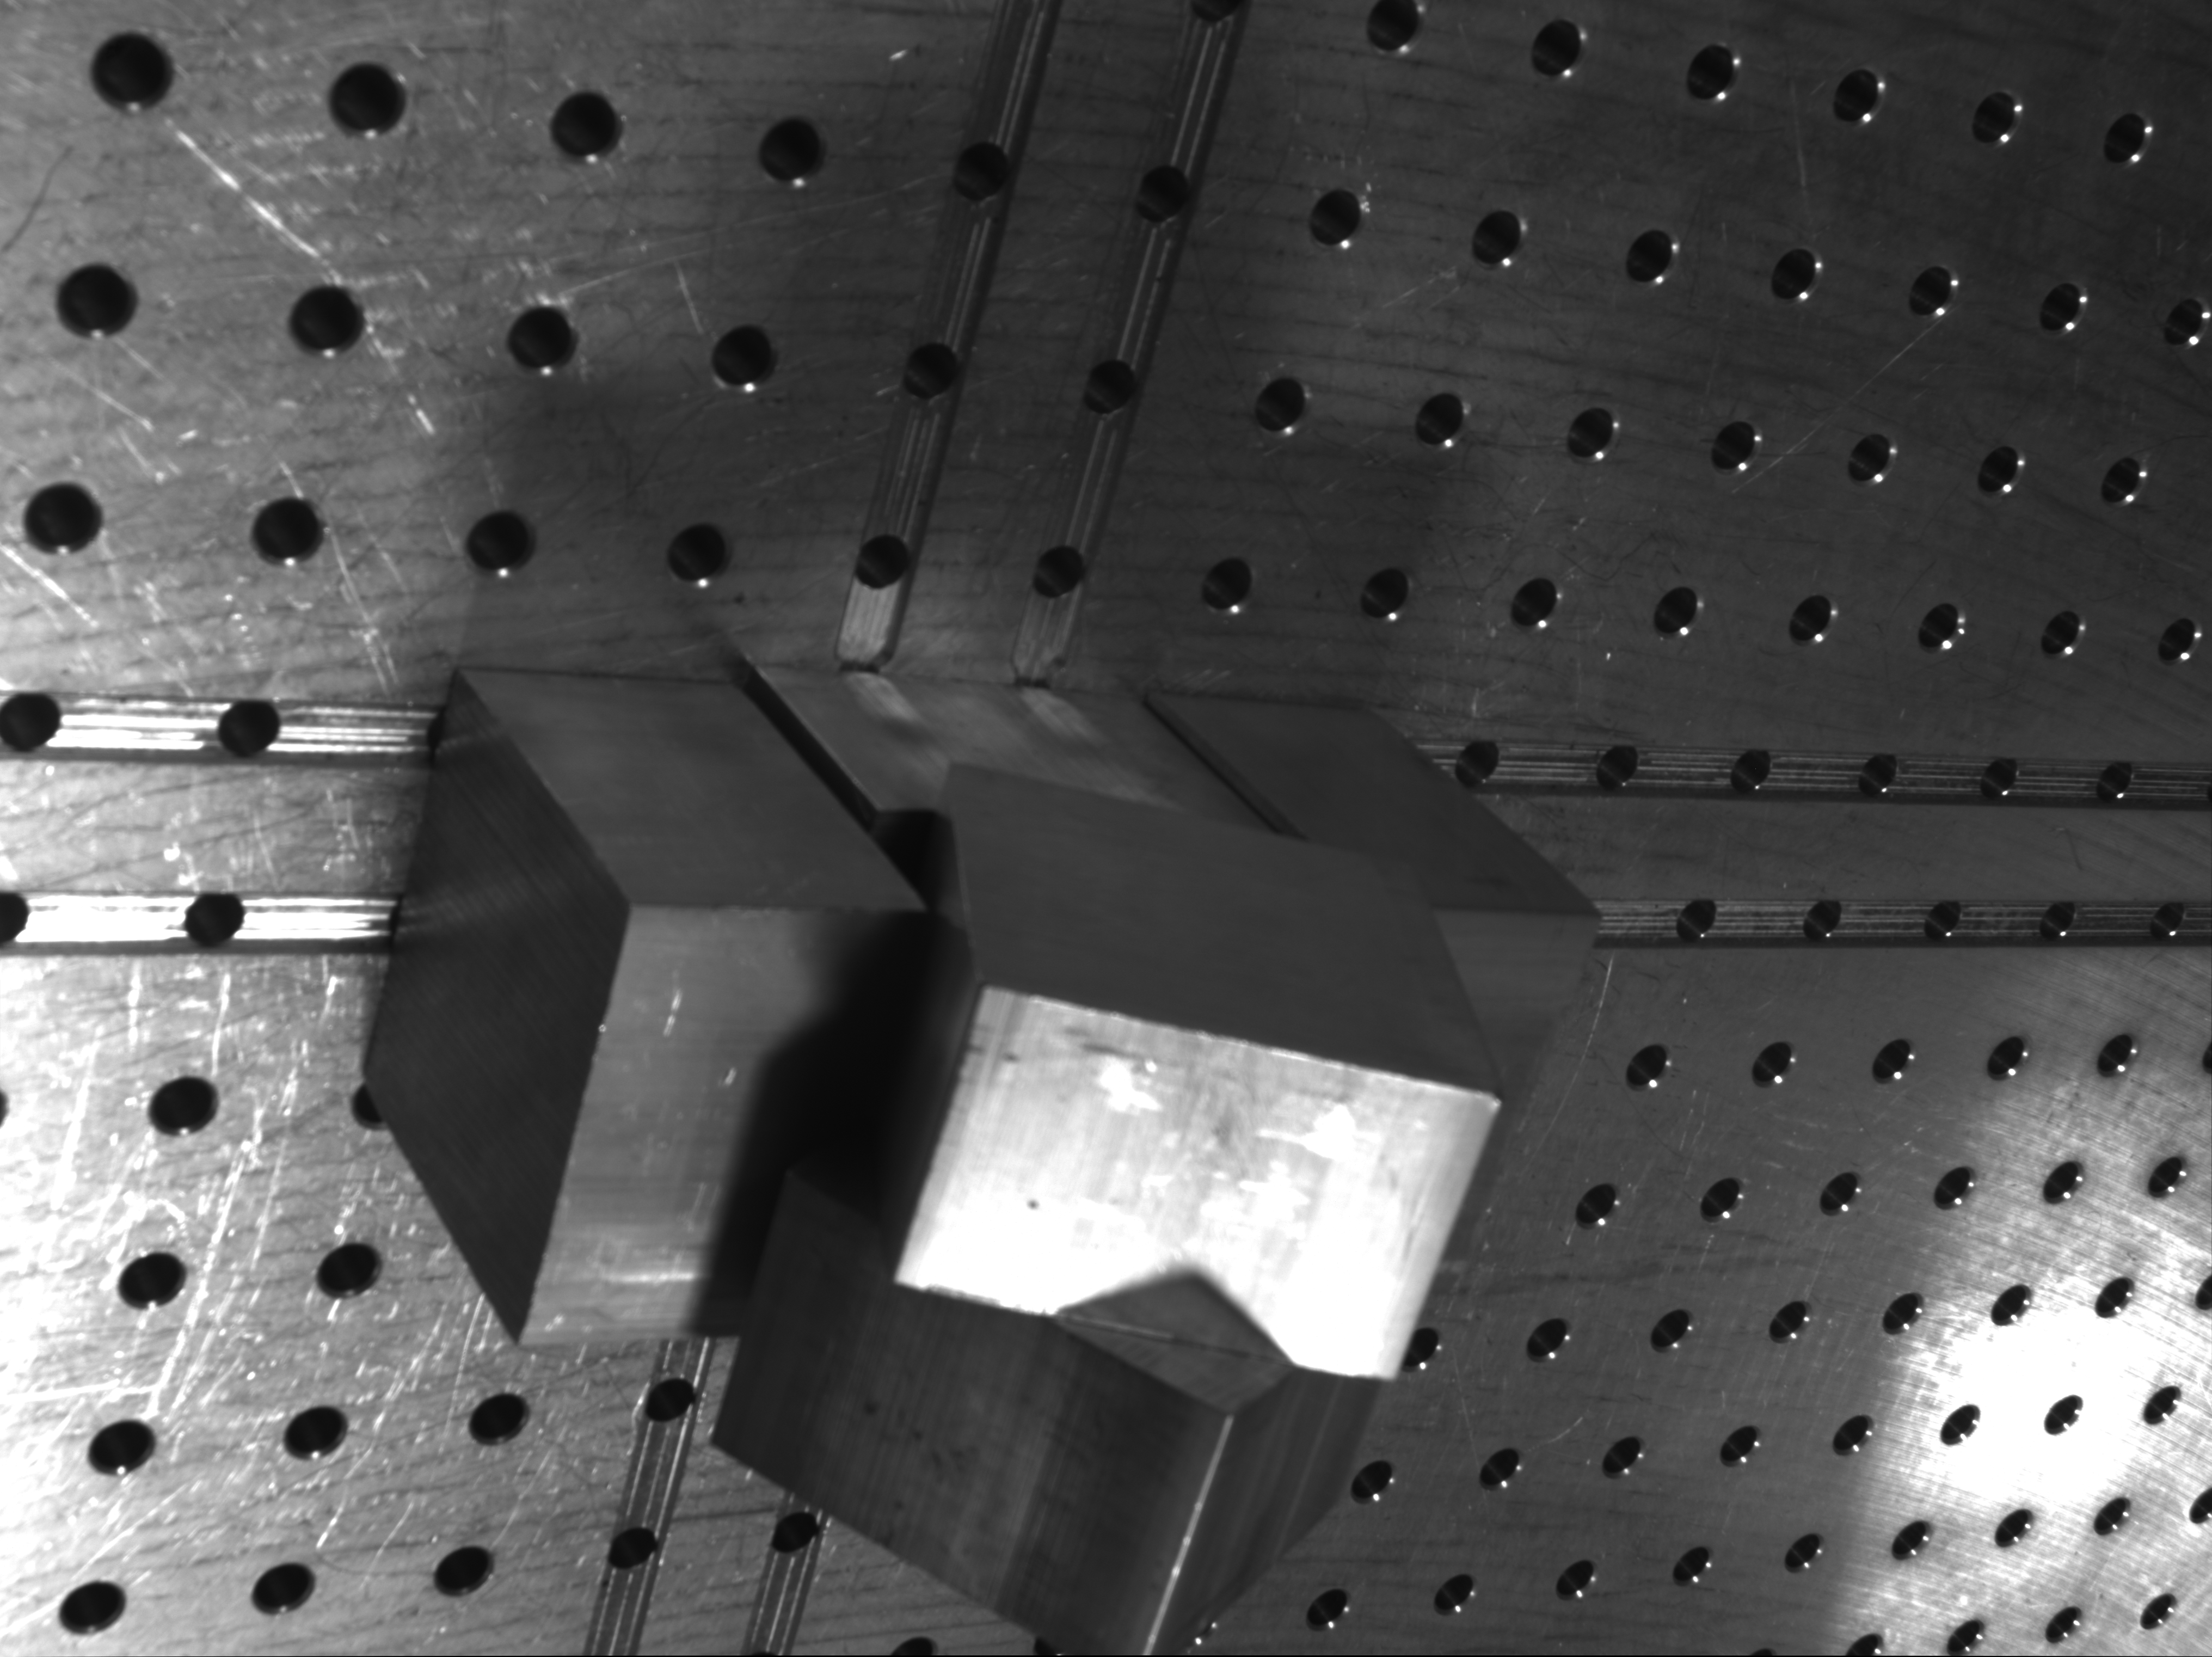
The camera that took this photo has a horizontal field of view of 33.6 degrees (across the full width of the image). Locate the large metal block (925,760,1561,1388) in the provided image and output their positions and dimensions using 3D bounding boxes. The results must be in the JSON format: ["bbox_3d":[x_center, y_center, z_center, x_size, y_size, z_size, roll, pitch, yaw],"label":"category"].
[{"bbox_3d":[0.017,0.036,0.567,0.080,0.080,0.050,13,112,-11],"label":"large metal block"}]

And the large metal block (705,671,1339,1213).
[{"bbox_3d":[-0.016,0.022,0.639,0.080,0.050,0.080,3,117,-32],"label":"large metal block"}]

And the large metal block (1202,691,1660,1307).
[{"bbox_3d":[0.045,0.031,0.663,0.050,0.080,0.080,4,116,-32],"label":"large metal block"}]

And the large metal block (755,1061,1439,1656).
[{"bbox_3d":[0.004,0.082,0.584,0.080,0.080,0.050,-25,137,-59],"label":"large metal block"}]

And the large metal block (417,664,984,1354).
[{"bbox_3d":[-0.069,0.028,0.596,0.050,0.080,0.080,2,117,-31],"label":"large metal block"}]
